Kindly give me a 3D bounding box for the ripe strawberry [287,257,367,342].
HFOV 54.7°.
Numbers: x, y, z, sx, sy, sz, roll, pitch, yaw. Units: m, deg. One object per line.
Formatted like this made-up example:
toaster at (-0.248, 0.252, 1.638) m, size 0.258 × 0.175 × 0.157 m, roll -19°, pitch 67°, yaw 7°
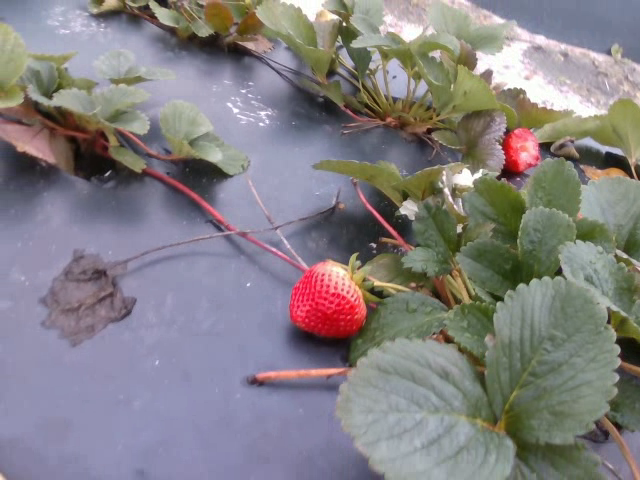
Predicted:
ripe strawberry at (0.001, 0.040, 0.430) m, size 0.064 × 0.062 × 0.050 m, roll -40°, pitch -17°, yaw -10°
